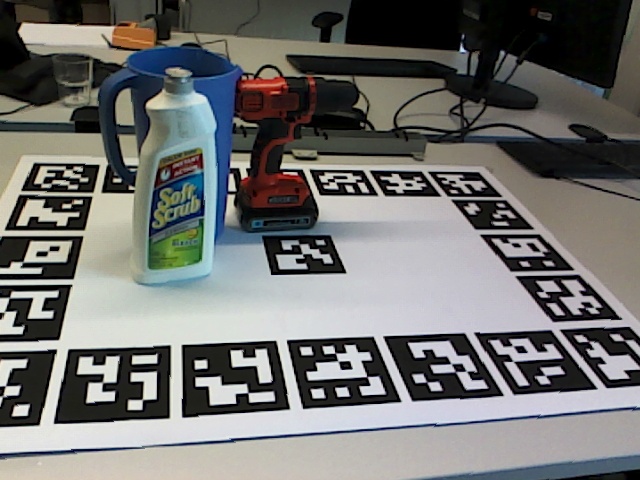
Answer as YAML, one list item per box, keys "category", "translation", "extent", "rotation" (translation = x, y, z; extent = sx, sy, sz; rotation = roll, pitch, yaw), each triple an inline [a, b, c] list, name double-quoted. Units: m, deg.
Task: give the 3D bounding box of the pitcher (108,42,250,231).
- category: "pitcher"
  translation: [-0.180, -0.126, 0.816]
  extent: [0.188, 0.242, 0.134]
  rotation: [-18, 41, -34]

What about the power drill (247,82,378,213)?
- category: "power drill"
  translation: [-0.021, -0.130, 0.872]
  extent: [0.184, 0.187, 0.058]
  rotation: [1, 35, -20]

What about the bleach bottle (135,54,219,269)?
- category: "bleach bottle"
  translation: [-0.169, -0.088, 0.719]
  extent: [0.102, 0.250, 0.068]
  rotation: [-6, 34, -19]
